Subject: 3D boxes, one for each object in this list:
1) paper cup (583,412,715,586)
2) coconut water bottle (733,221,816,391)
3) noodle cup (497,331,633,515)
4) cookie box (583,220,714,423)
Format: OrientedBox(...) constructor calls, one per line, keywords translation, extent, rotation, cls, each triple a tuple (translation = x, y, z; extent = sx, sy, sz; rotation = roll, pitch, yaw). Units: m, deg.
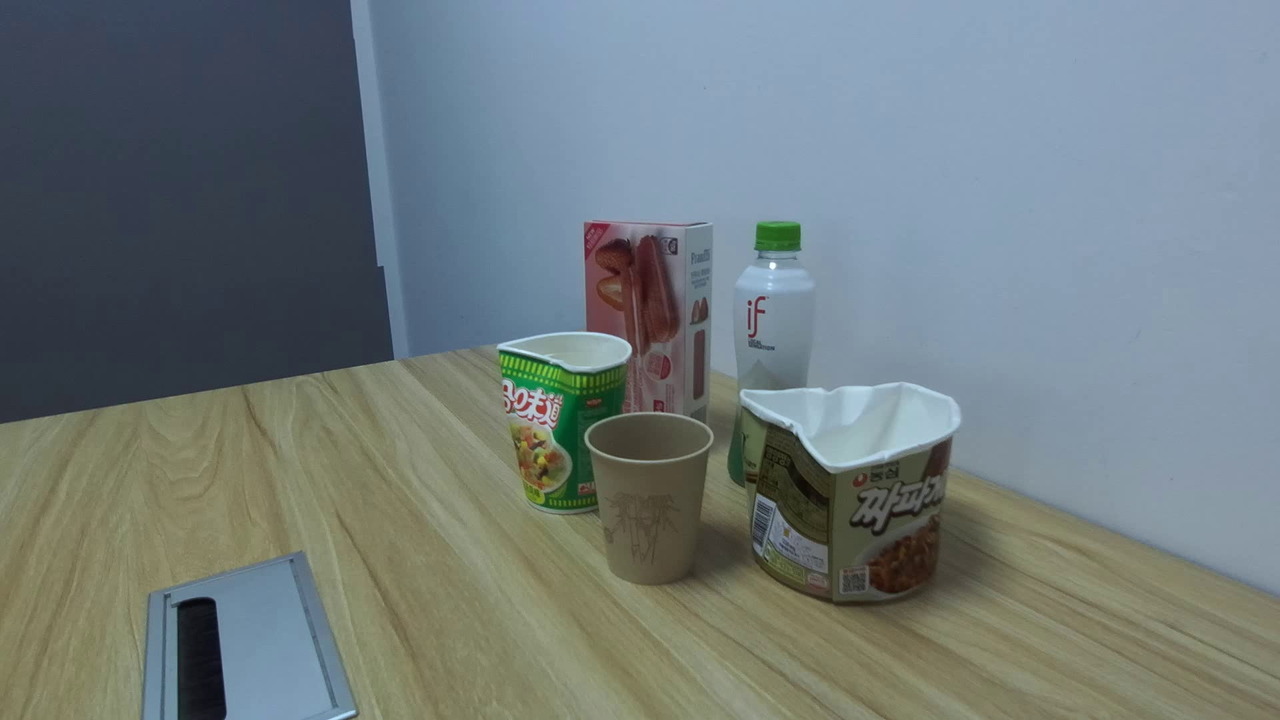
OrientedBox(translation=(0.005, 0.082, 0.417), extent=(0.075, 0.082, 0.075), rotation=(-1, 17, 0), cls="paper cup")
OrientedBox(translation=(0.096, -0.002, 0.505), extent=(0.063, 0.188, 0.063), rotation=(0, 12, 0), cls="coconut water bottle")
OrientedBox(translation=(-0.046, 0.044, 0.500), extent=(0.087, 0.109, 0.093), rotation=(-8, 19, -25), cls="noodle cup")
OrientedBox(translation=(0.007, -0.020, 0.581), extent=(0.096, 0.184, 0.048), rotation=(9, 18, 31), cls="cookie box")
